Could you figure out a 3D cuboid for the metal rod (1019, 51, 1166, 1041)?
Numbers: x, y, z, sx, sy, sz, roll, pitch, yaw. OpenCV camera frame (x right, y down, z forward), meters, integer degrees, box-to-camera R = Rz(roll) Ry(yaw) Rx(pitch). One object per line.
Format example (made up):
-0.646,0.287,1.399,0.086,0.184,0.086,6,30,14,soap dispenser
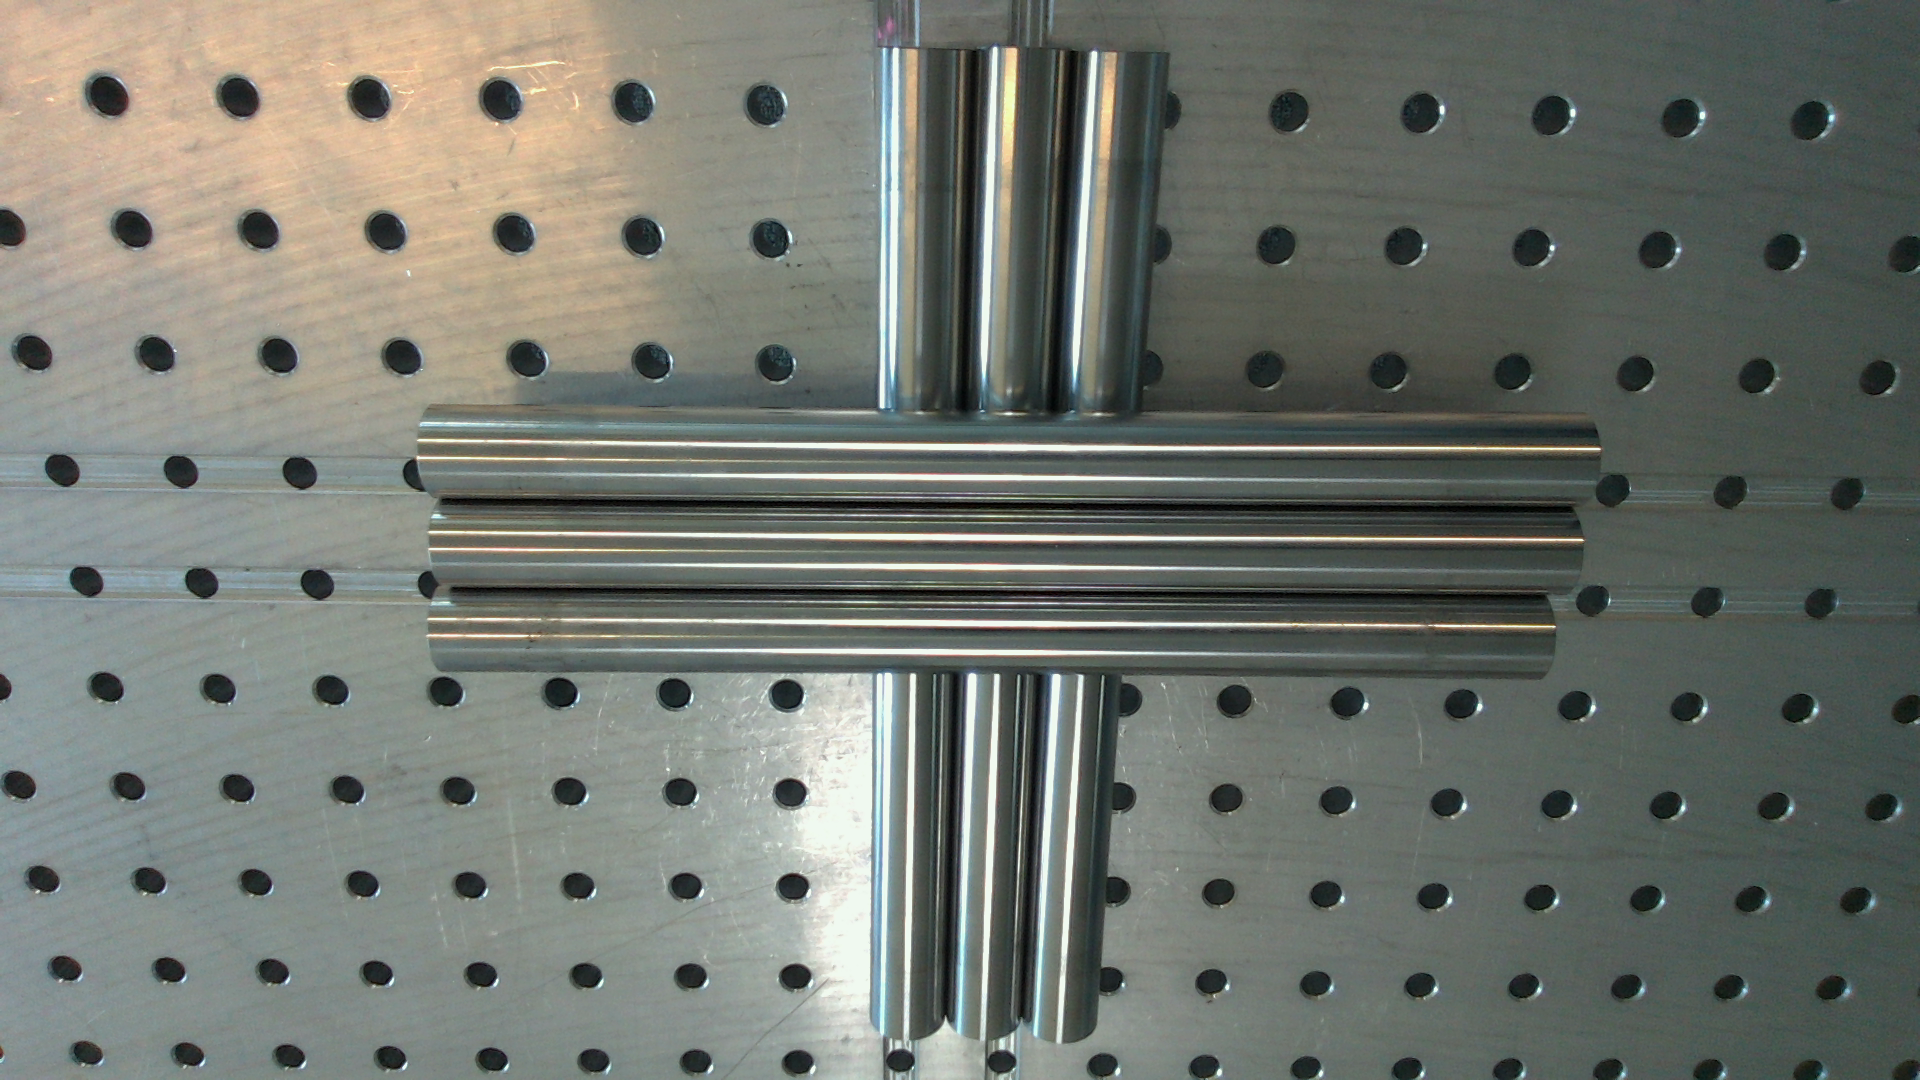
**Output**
0.036,0.016,0.403,0.025,0.025,0.300,2,110,-1,metal rod

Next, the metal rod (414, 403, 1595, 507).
0.012,-0.022,0.361,0.300,0.025,0.025,0,110,0,metal rod

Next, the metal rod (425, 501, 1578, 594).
0.011,0.001,0.370,0.300,0.025,0.025,0,110,0,metal rod

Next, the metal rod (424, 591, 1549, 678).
0.008,0.025,0.379,0.300,0.025,0.025,0,110,0,metal rod

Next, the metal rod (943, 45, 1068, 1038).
0.011,0.015,0.402,0.025,0.025,0.300,2,110,-1,metal rod

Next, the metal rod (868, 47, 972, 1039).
-0.014,0.015,0.402,0.025,0.025,0.300,2,110,-1,metal rod
